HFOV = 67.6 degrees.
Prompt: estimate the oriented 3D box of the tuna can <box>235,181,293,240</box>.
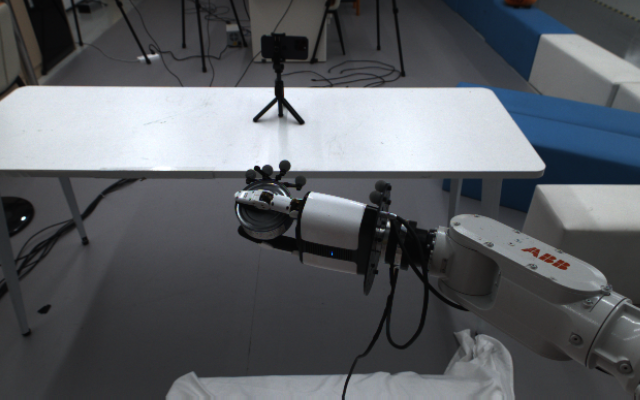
[{"bbox_3d":[-0.080,0.014,0.713,0.085,0.034,0.085,-3,57,4],"label":"tuna can"}]
